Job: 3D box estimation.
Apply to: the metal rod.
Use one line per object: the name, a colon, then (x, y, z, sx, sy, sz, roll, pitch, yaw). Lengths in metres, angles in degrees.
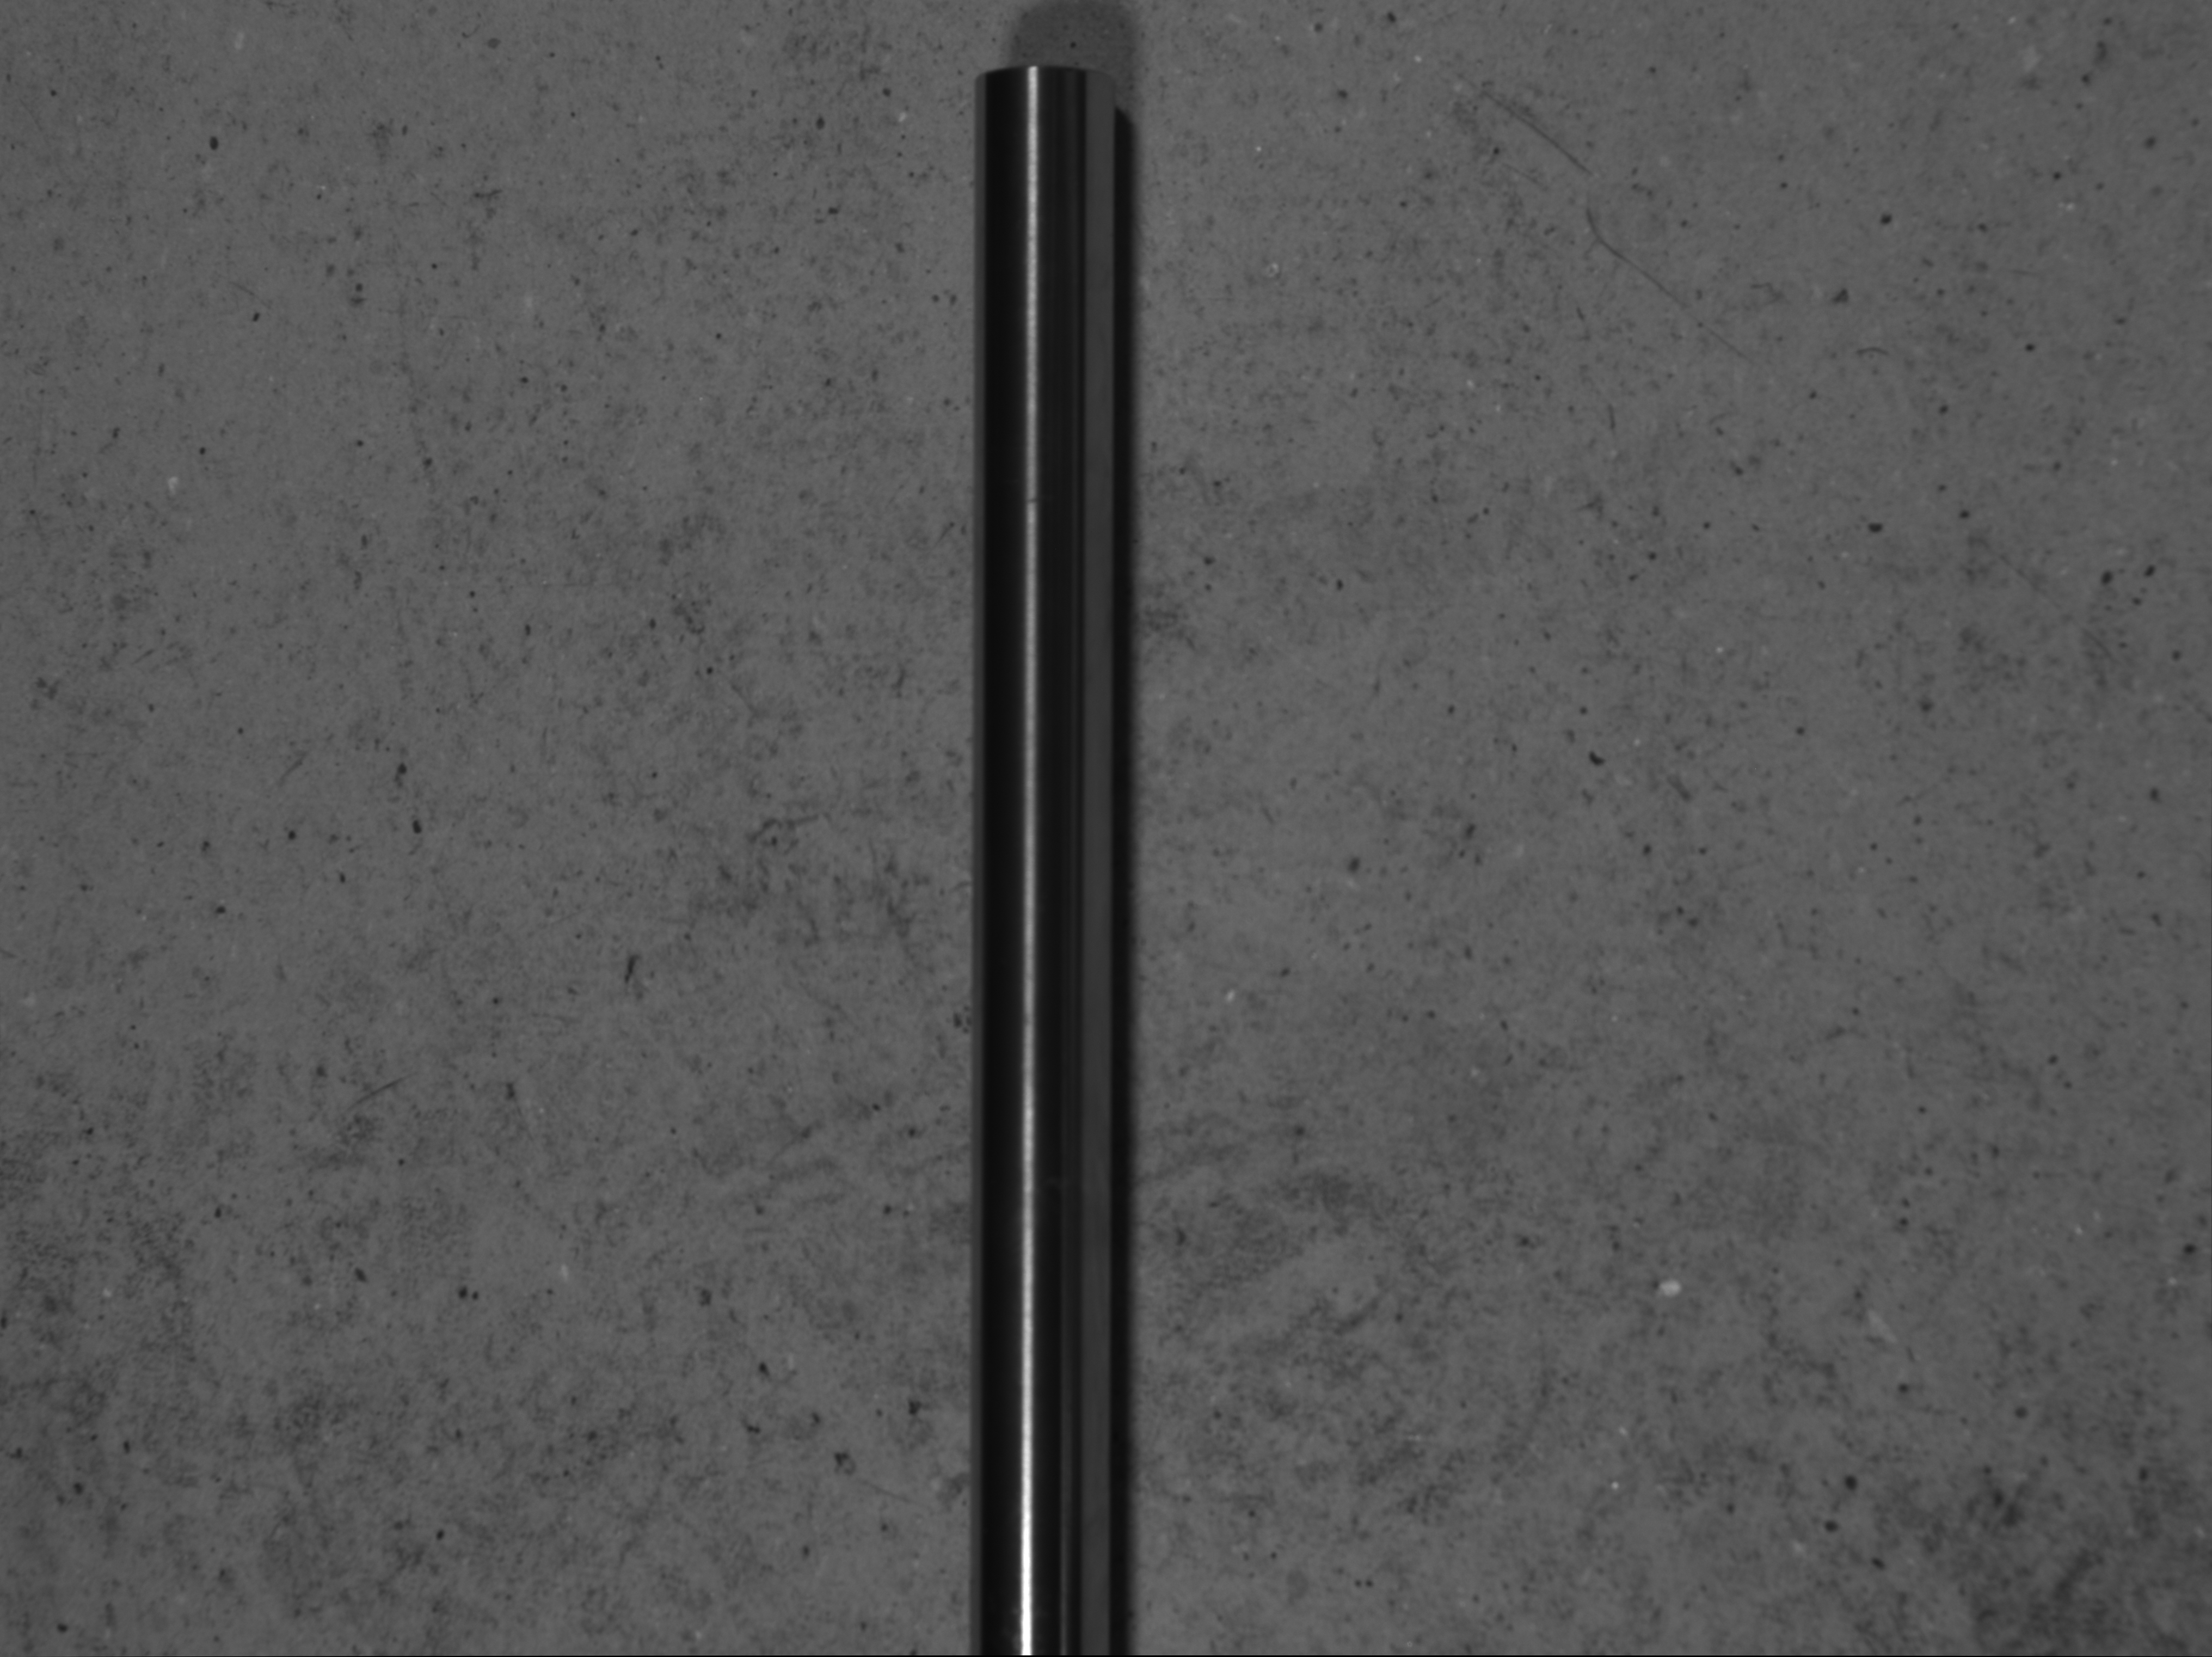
metal rod: (-0.011, 0.018, 0.648, 0.025, 0.025, 0.300, 0, 90, 20)
